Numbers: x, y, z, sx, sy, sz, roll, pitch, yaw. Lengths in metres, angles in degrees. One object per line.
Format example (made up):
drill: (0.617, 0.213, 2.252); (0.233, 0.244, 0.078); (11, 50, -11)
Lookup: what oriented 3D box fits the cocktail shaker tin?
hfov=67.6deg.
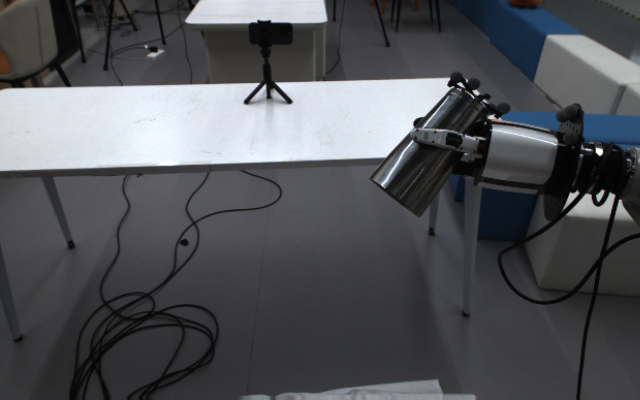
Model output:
cocktail shaker tin: (0.158, -0.074, 0.681); (0.170, 0.093, 0.093); (-50, 46, 4)
